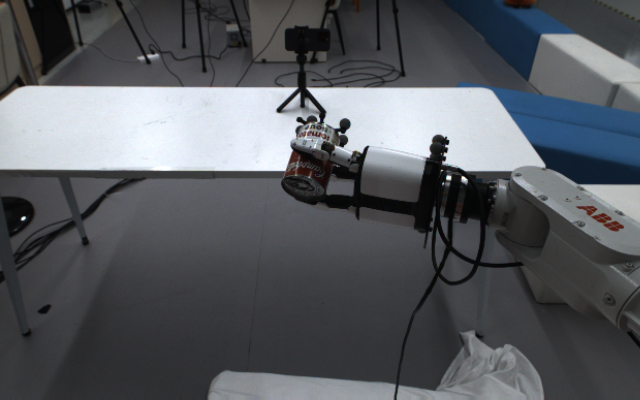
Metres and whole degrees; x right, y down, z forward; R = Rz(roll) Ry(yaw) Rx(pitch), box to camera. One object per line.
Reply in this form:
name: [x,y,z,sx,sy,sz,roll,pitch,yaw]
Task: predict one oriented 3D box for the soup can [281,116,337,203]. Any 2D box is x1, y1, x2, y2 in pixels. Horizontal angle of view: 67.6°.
soup can: [-0.012,-0.059,0.726,0.067,0.067,0.101,9,60,10]
